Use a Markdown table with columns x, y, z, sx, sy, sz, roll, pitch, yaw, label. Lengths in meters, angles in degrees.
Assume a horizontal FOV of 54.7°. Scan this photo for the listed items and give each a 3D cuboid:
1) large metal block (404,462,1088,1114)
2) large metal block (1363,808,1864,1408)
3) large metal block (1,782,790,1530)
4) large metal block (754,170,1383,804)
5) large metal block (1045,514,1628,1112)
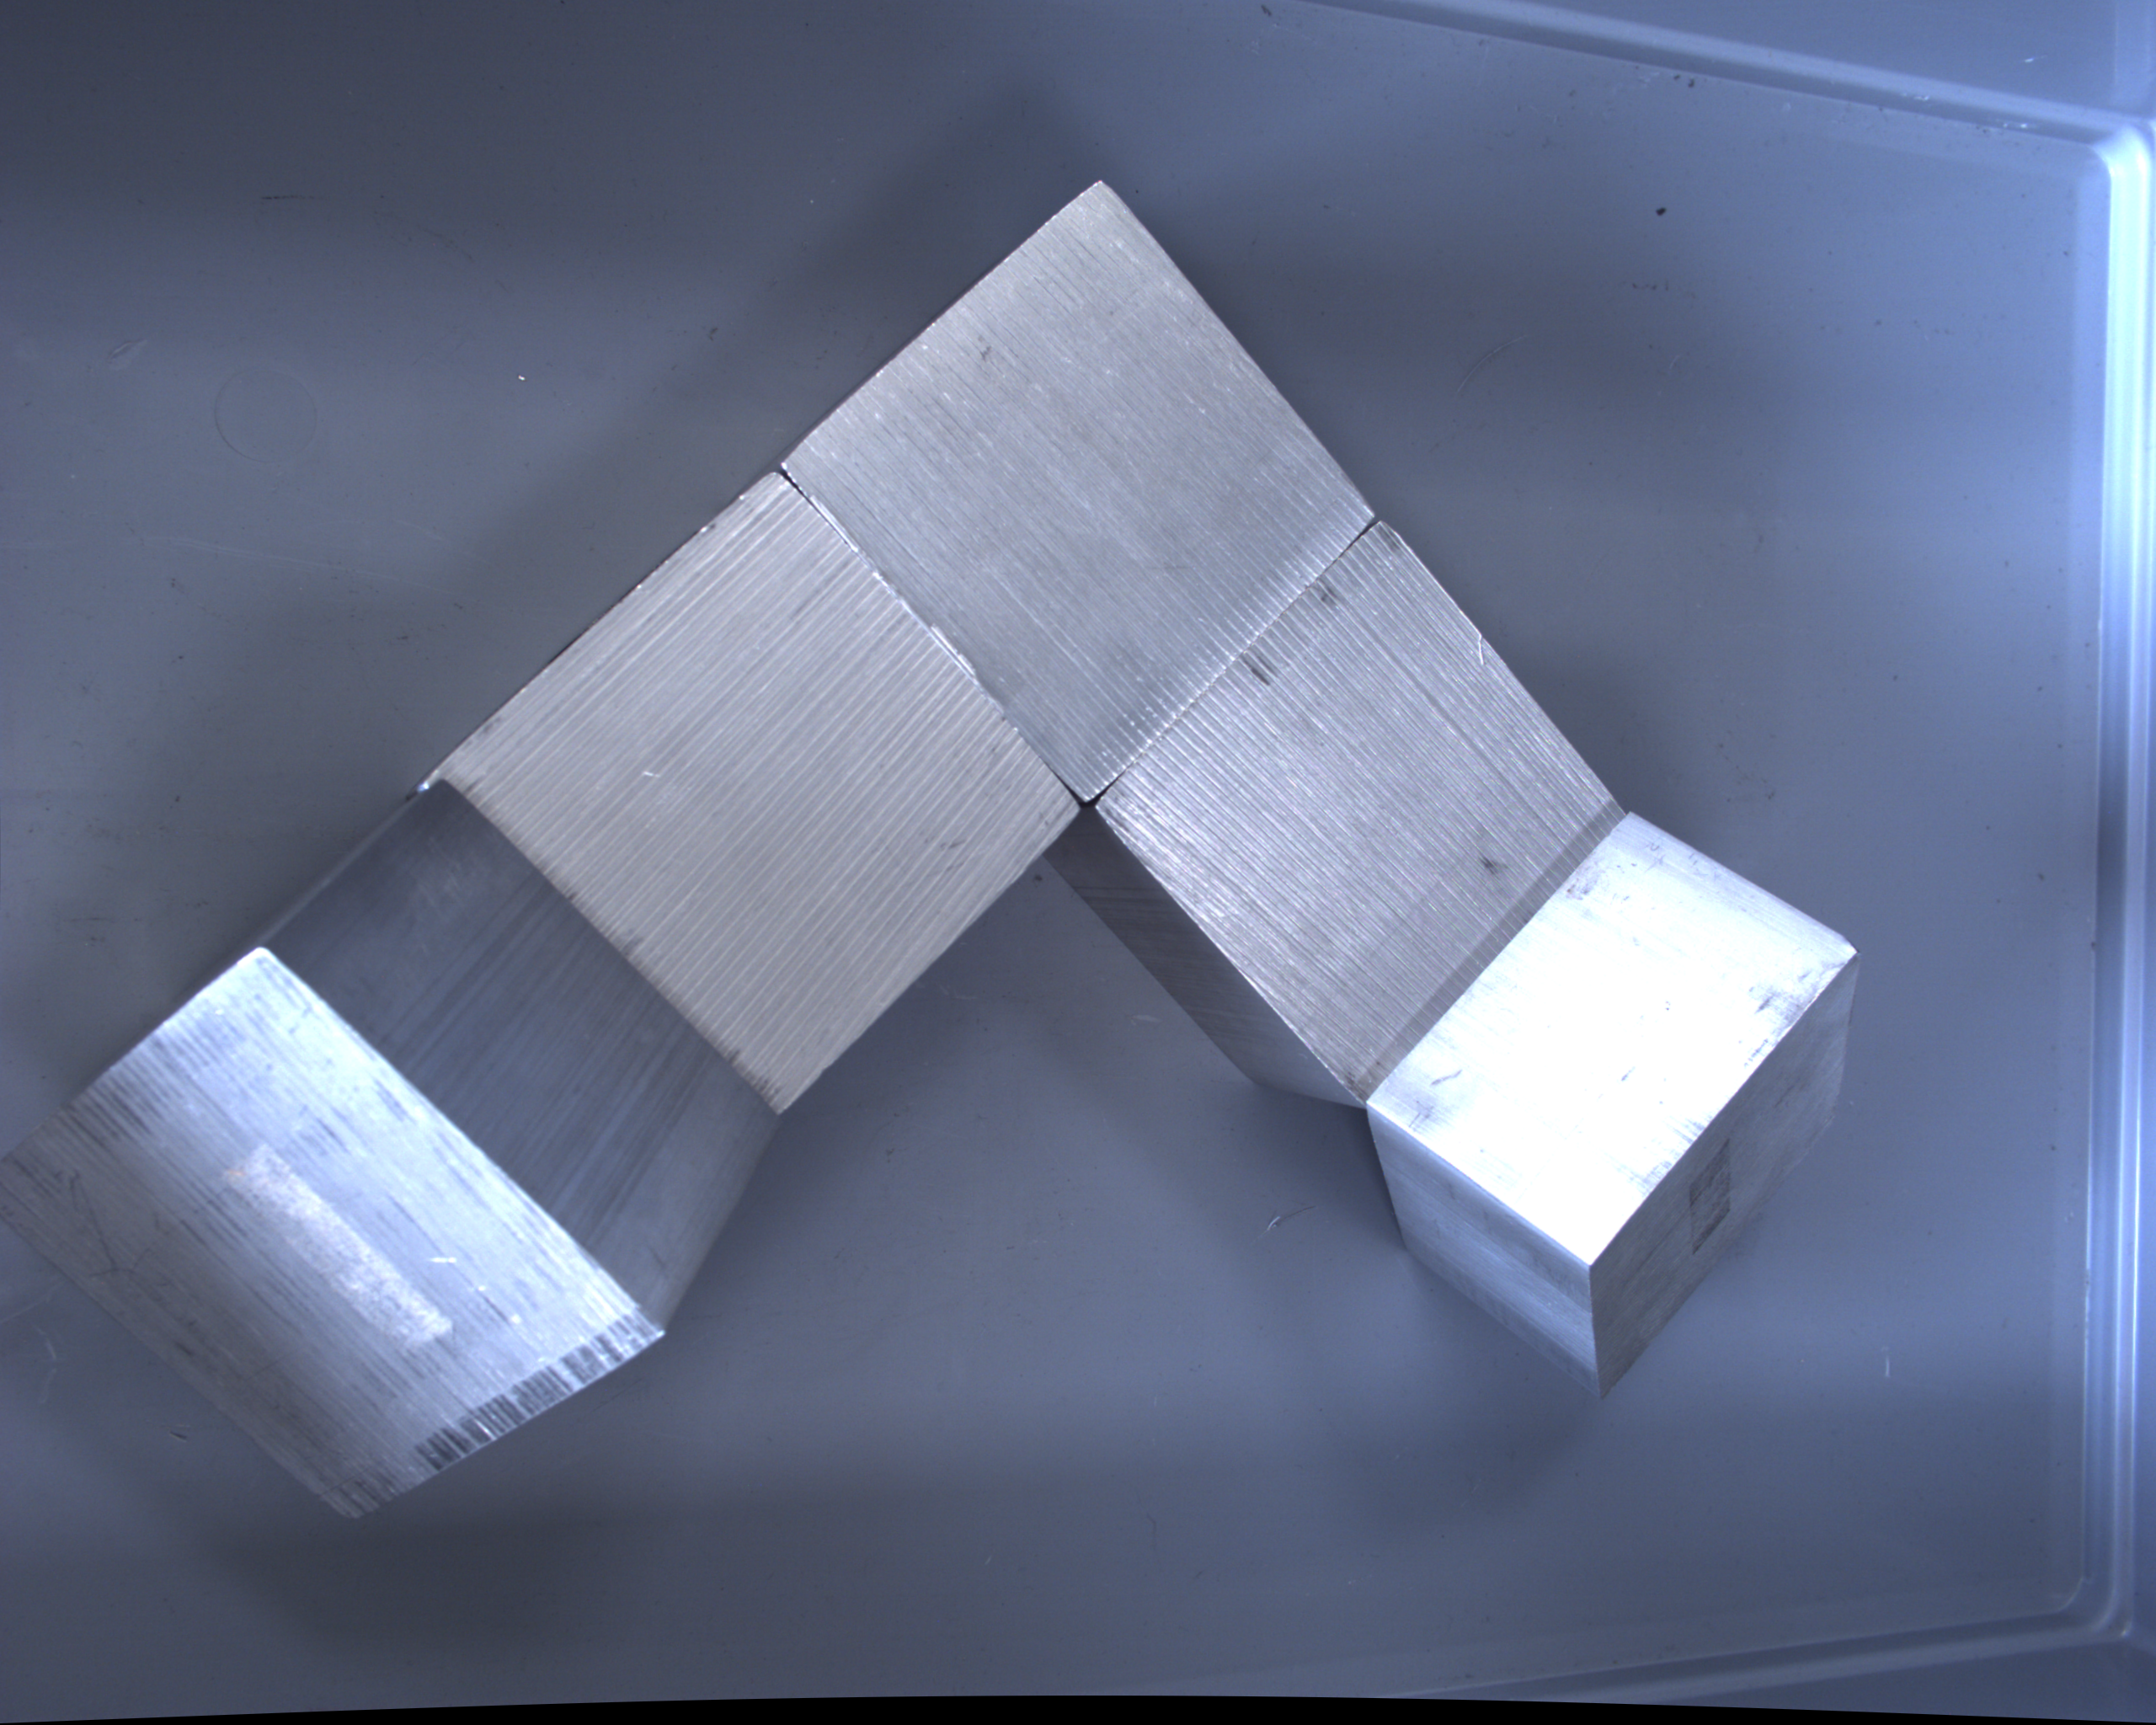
| x | y | z | sx | sy | sz | roll | pitch | yaw | label |
| --- | --- | --- | --- | --- | --- | --- | --- | --- | --- |
| -0.060 | -0.011 | 0.373 | 0.080 | 0.050 | 0.080 | -46 | 104 | -14 | large metal block |
| 0.107 | 0.050 | 0.412 | 0.080 | 0.050 | 0.080 | -46 | 148 | -14 | large metal block |
| -0.109 | 0.048 | 0.332 | 0.080 | 0.050 | 0.080 | -35 | 106 | 27 | large metal block |
| -0.005 | -0.067 | 0.393 | 0.080 | 0.050 | 0.080 | -46 | 104 | -14 | large metal block |
| 0.047 | -0.009 | 0.413 | 0.080 | 0.050 | 0.080 | -46 | 104 | -14 | large metal block |
